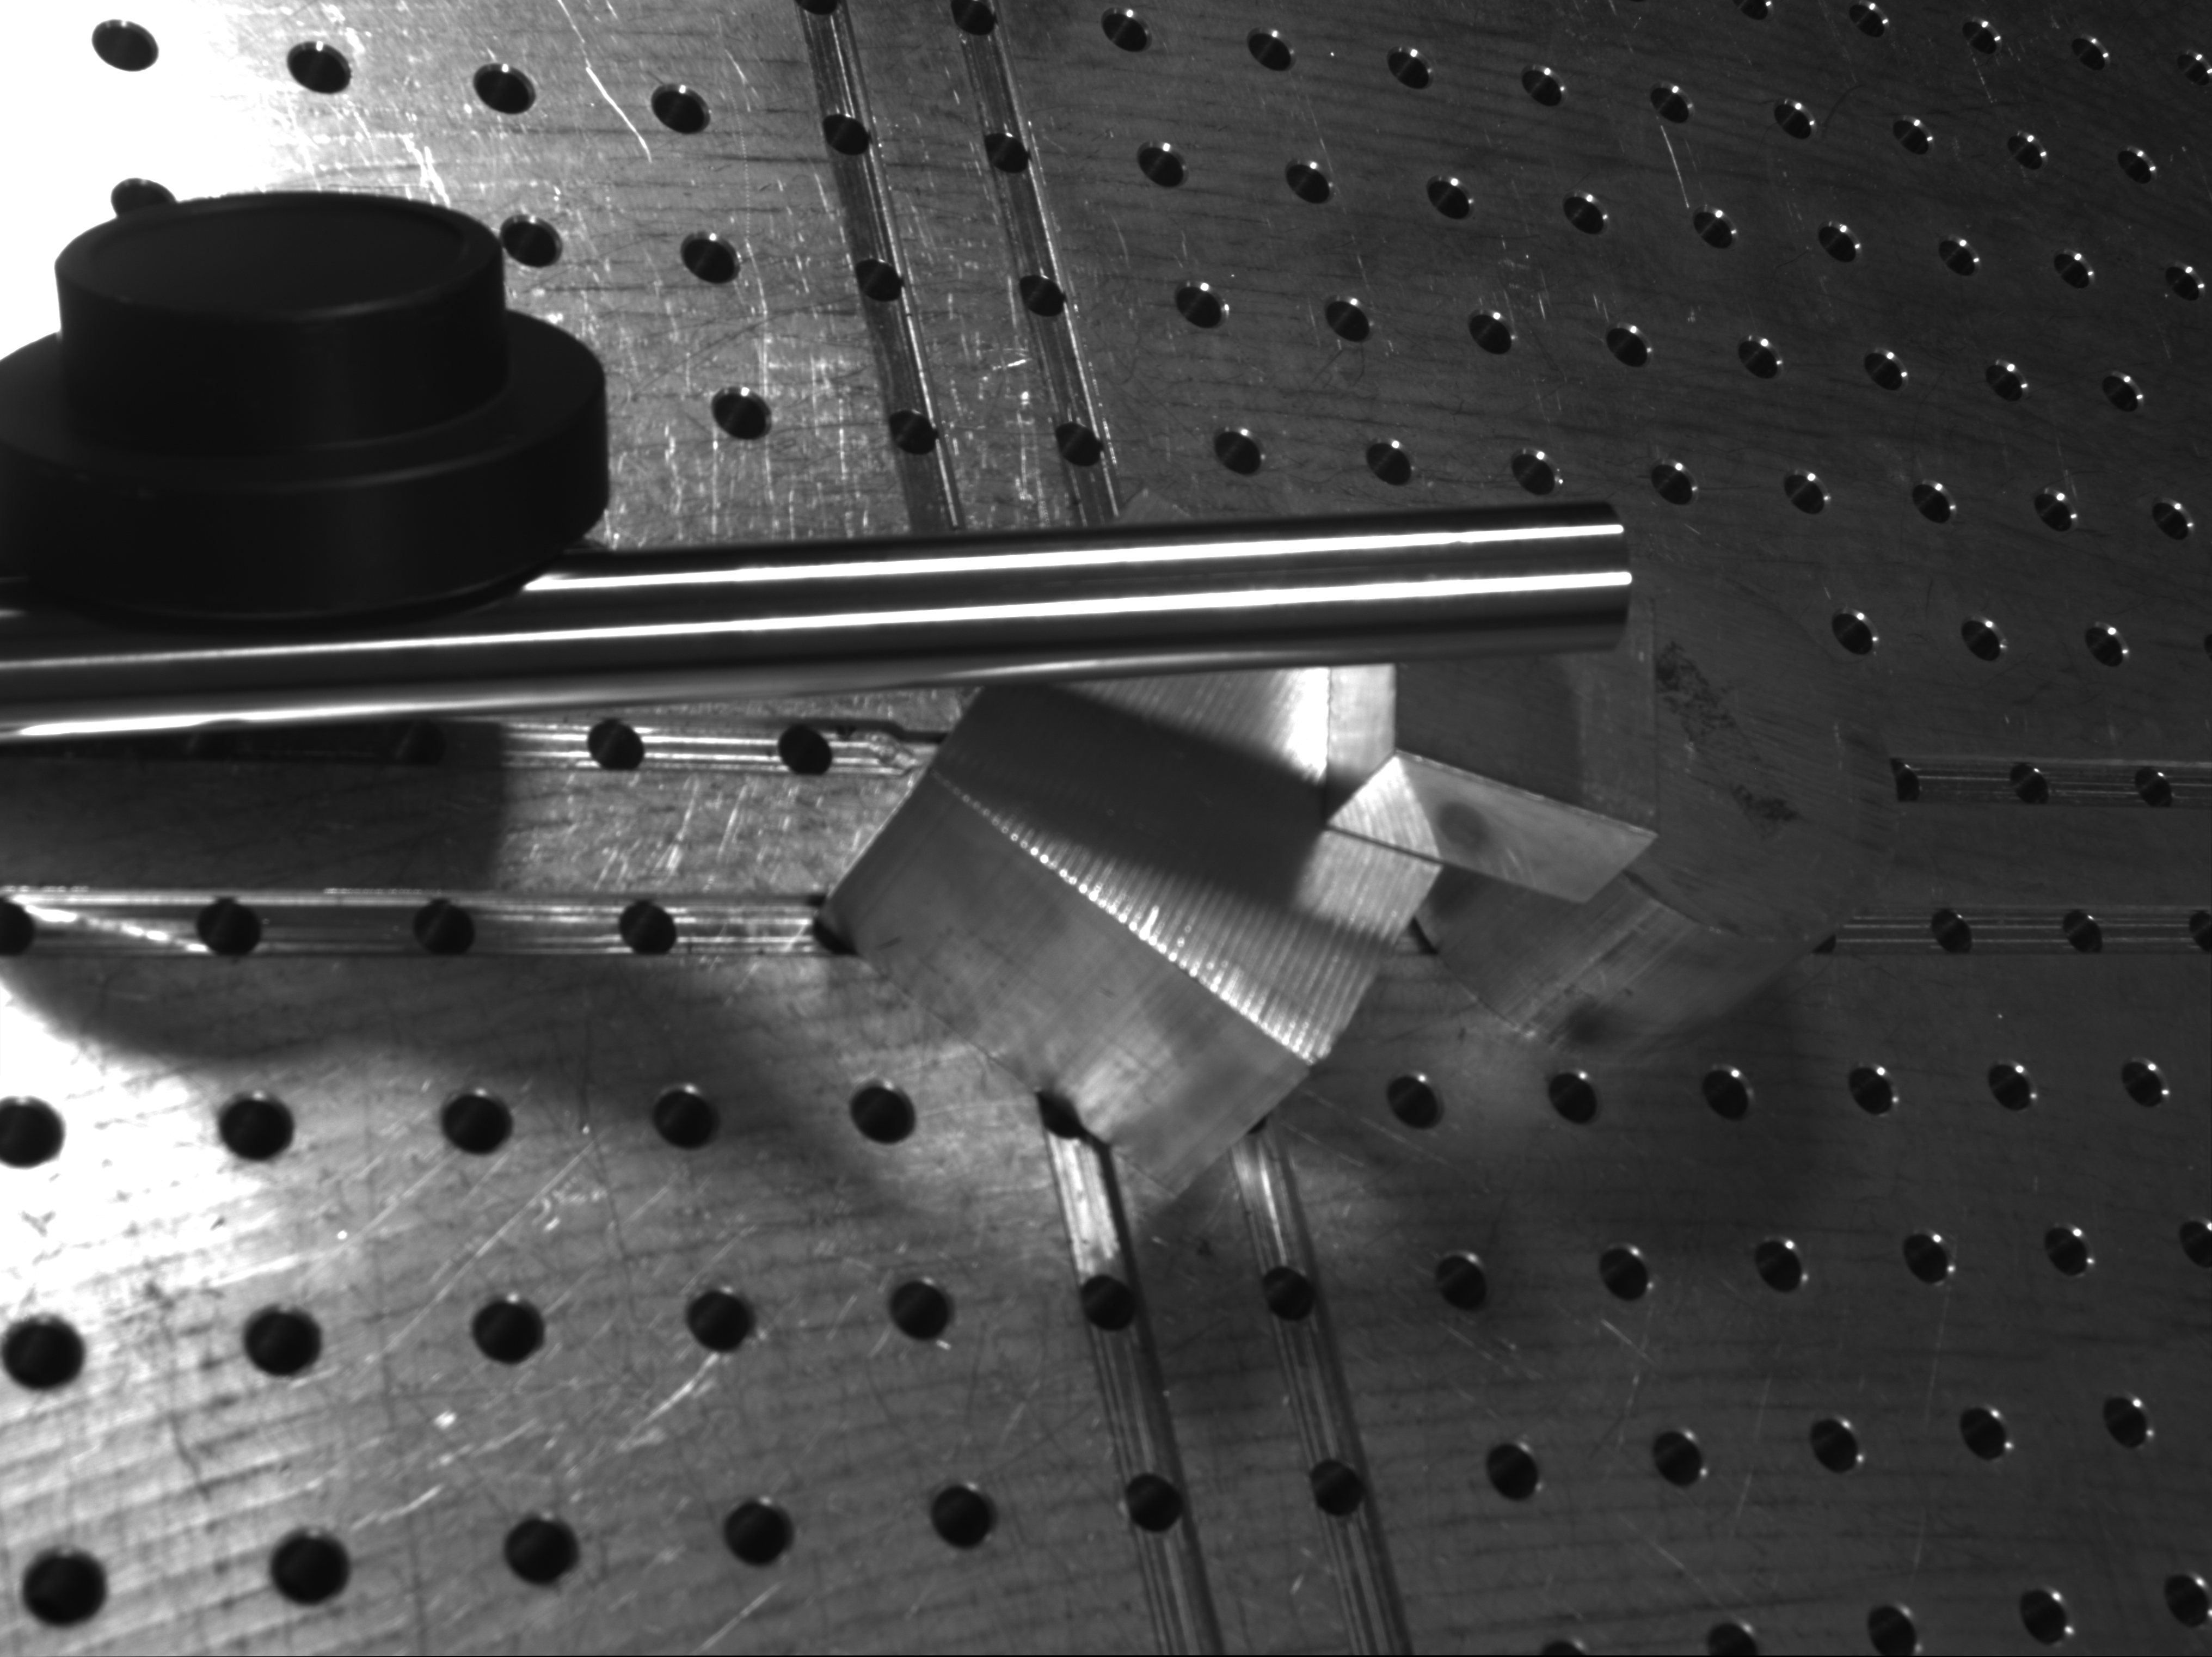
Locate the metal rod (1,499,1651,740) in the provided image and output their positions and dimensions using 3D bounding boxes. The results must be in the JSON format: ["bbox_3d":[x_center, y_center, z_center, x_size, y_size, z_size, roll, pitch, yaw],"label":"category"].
[{"bbox_3d":[-0.062,-0.032,0.573,0.300,0.025,0.025,-4,62,-11],"label":"metal rod"}]

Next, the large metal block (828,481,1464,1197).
[{"bbox_3d":[0.013,0.001,0.630,0.080,0.050,0.080,38,51,-3],"label":"large metal block"}]

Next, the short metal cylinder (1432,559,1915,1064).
[{"bbox_3d":[0.103,-0.003,0.684,0.080,0.050,0.080,14,56,-21],"label":"short metal cylinder"}]

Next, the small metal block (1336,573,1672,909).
[{"bbox_3d":[0.068,-0.020,0.624,0.050,0.025,0.050,17,55,-18],"label":"small metal block"}]

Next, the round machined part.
[{"bbox_3d":[-0.125,-0.071,0.574,0.098,0.042,0.098,1,25,0],"label":"round machined part"}]
